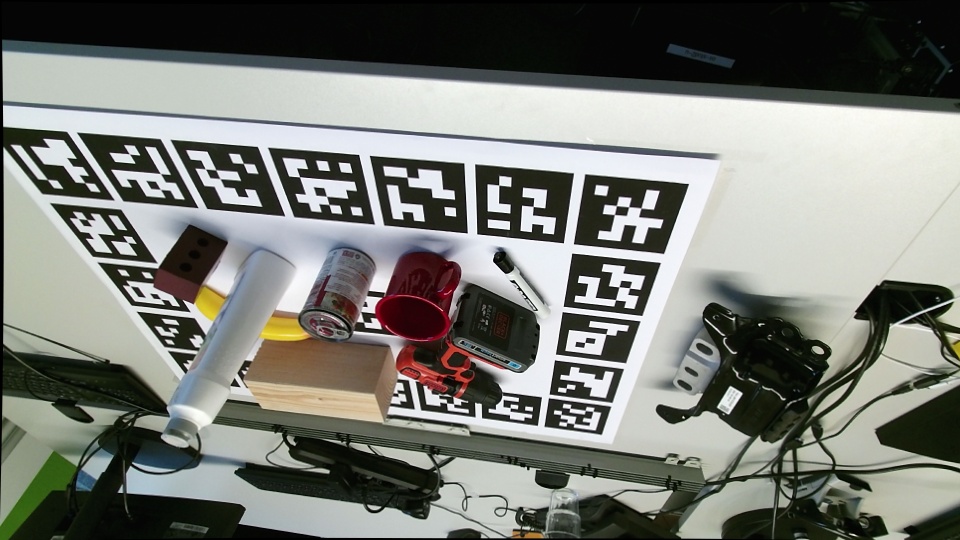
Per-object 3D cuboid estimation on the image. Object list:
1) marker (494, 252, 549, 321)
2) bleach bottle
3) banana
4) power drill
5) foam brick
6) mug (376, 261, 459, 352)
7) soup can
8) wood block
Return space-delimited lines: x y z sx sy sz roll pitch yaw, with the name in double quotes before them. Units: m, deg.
"marker" 0.052 0.021 0.674 0.020 0.019 0.121 -19 128 26
"bleach bottle" -0.310 0.100 0.662 0.068 0.249 0.103 25 136 -15
"banana" -0.327 0.095 0.811 0.198 0.039 0.074 17 123 -3
"power drill" -0.014 0.130 0.779 0.185 0.057 0.187 27 136 -12
"foam brick" -0.377 -0.001 0.698 0.053 0.077 0.051 28 137 -19
"mug" -0.067 0.037 0.666 0.093 0.081 0.117 38 128 -23
"soup can" -0.177 0.041 0.672 0.068 0.101 0.068 8 141 6
"wood block" -0.248 0.179 0.851 0.207 0.090 0.090 4 135 7
